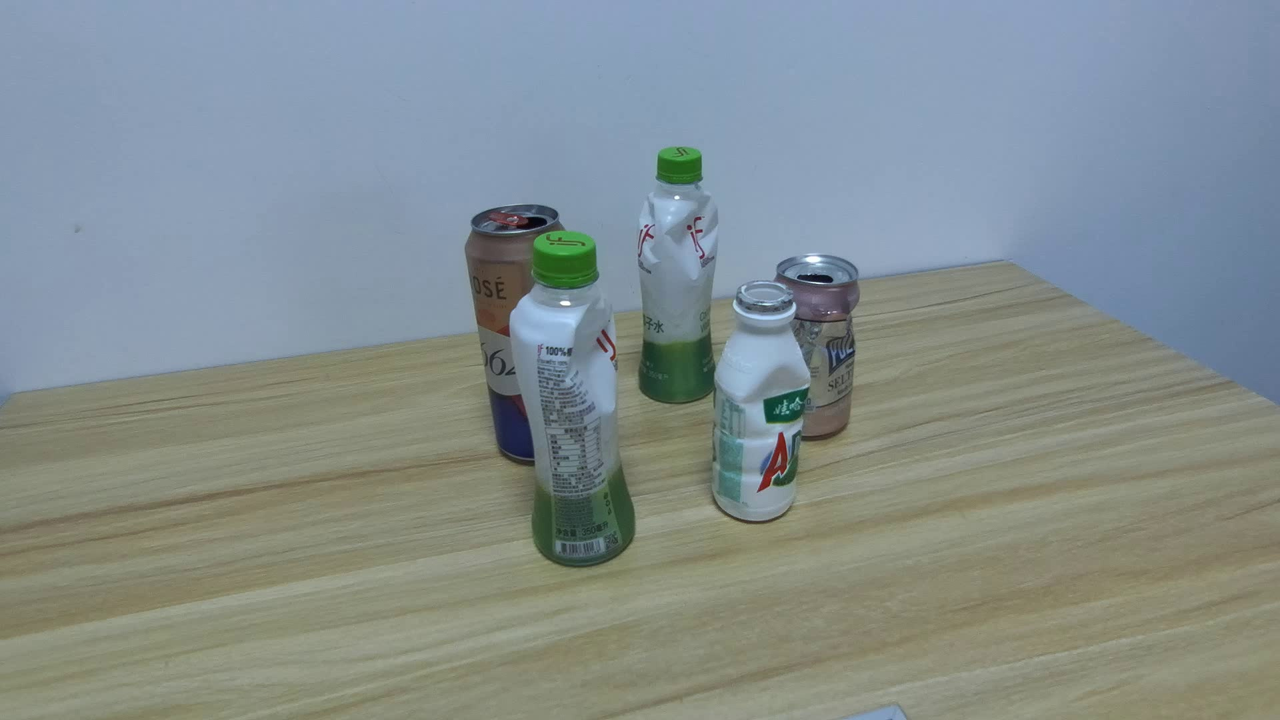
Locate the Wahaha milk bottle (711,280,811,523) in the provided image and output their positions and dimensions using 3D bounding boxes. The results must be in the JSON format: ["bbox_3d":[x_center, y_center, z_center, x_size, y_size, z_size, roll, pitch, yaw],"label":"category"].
[{"bbox_3d":[0.070,0.027,0.416,0.056,0.148,0.056,0,31,0],"label":"Wahaha milk bottle"}]

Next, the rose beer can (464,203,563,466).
[{"bbox_3d":[-0.074,-0.014,0.485,0.068,0.169,0.068,-1,28,1],"label":"rose beer can"}]

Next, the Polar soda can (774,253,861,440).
[{"bbox_3d":[0.120,-0.008,0.505,0.074,0.122,0.067,-8,28,-13],"label":"Polar soda can"}]

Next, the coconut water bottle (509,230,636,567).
[{"bbox_3d":[-0.037,0.023,0.389,0.069,0.187,0.069,-1,28,1],"label":"coconut water bottle"}]

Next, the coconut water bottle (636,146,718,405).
[{"bbox_3d":[0.029,-0.060,0.527,0.067,0.187,0.067,0,28,0],"label":"coconut water bottle"}]
